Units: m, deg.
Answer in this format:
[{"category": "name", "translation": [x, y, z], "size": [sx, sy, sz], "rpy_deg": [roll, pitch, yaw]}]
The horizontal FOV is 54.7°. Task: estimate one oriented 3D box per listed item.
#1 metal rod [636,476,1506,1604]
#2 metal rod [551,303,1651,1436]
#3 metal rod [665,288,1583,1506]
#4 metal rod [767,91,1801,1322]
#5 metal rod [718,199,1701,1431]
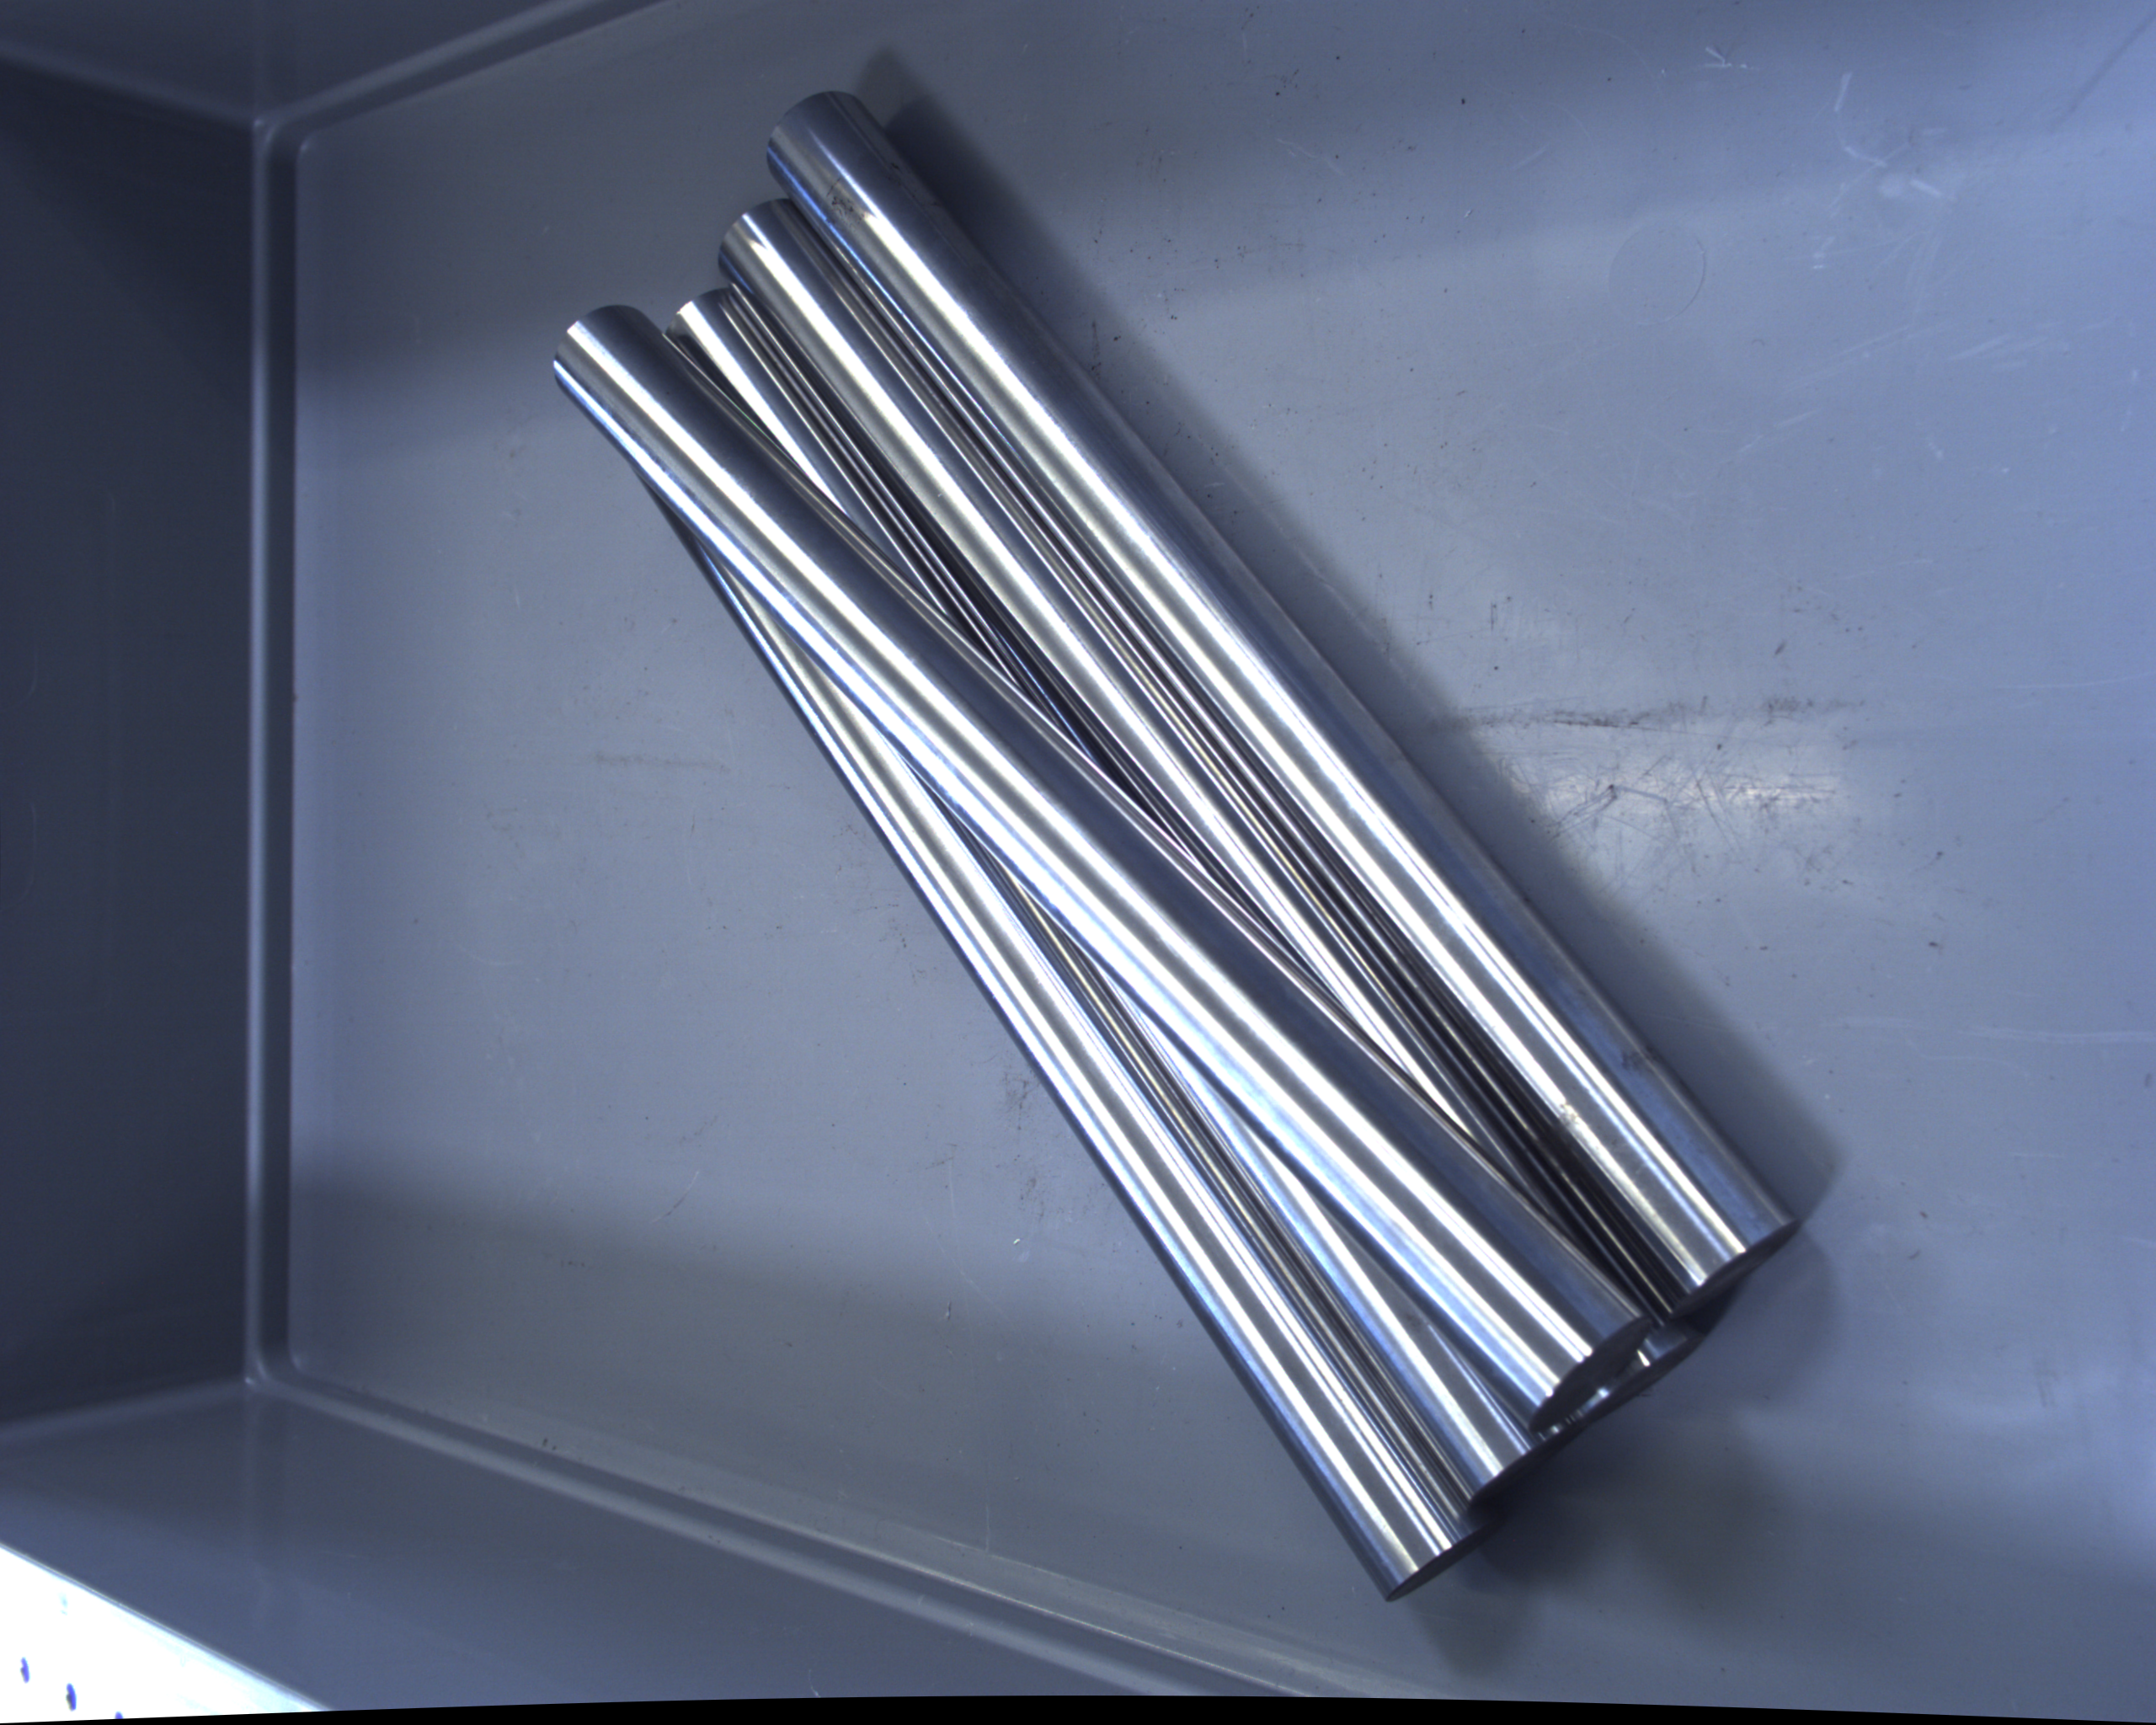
[{"category": "metal rod", "translation": [-0.016, 0.009, 0.419], "size": [0.025, 0.025, 0.300], "rpy_deg": [-50, 61, 28]}, {"category": "metal rod", "translation": [-0.014, -0.018, 0.383], "size": [0.300, 0.025, 0.025], "rpy_deg": [46, 118, 30]}, {"category": "metal rod", "translation": [-0.004, -0.011, 0.409], "size": [0.025, 0.025, 0.300], "rpy_deg": [-50, 61, 28]}, {"category": "metal rod", "translation": [0.023, -0.046, 0.387], "size": [0.025, 0.025, 0.300], "rpy_deg": [-50, 61, 28]}, {"category": "metal rod", "translation": [0.010, -0.027, 0.397], "size": [0.025, 0.025, 0.300], "rpy_deg": [-50, 61, 28]}]
